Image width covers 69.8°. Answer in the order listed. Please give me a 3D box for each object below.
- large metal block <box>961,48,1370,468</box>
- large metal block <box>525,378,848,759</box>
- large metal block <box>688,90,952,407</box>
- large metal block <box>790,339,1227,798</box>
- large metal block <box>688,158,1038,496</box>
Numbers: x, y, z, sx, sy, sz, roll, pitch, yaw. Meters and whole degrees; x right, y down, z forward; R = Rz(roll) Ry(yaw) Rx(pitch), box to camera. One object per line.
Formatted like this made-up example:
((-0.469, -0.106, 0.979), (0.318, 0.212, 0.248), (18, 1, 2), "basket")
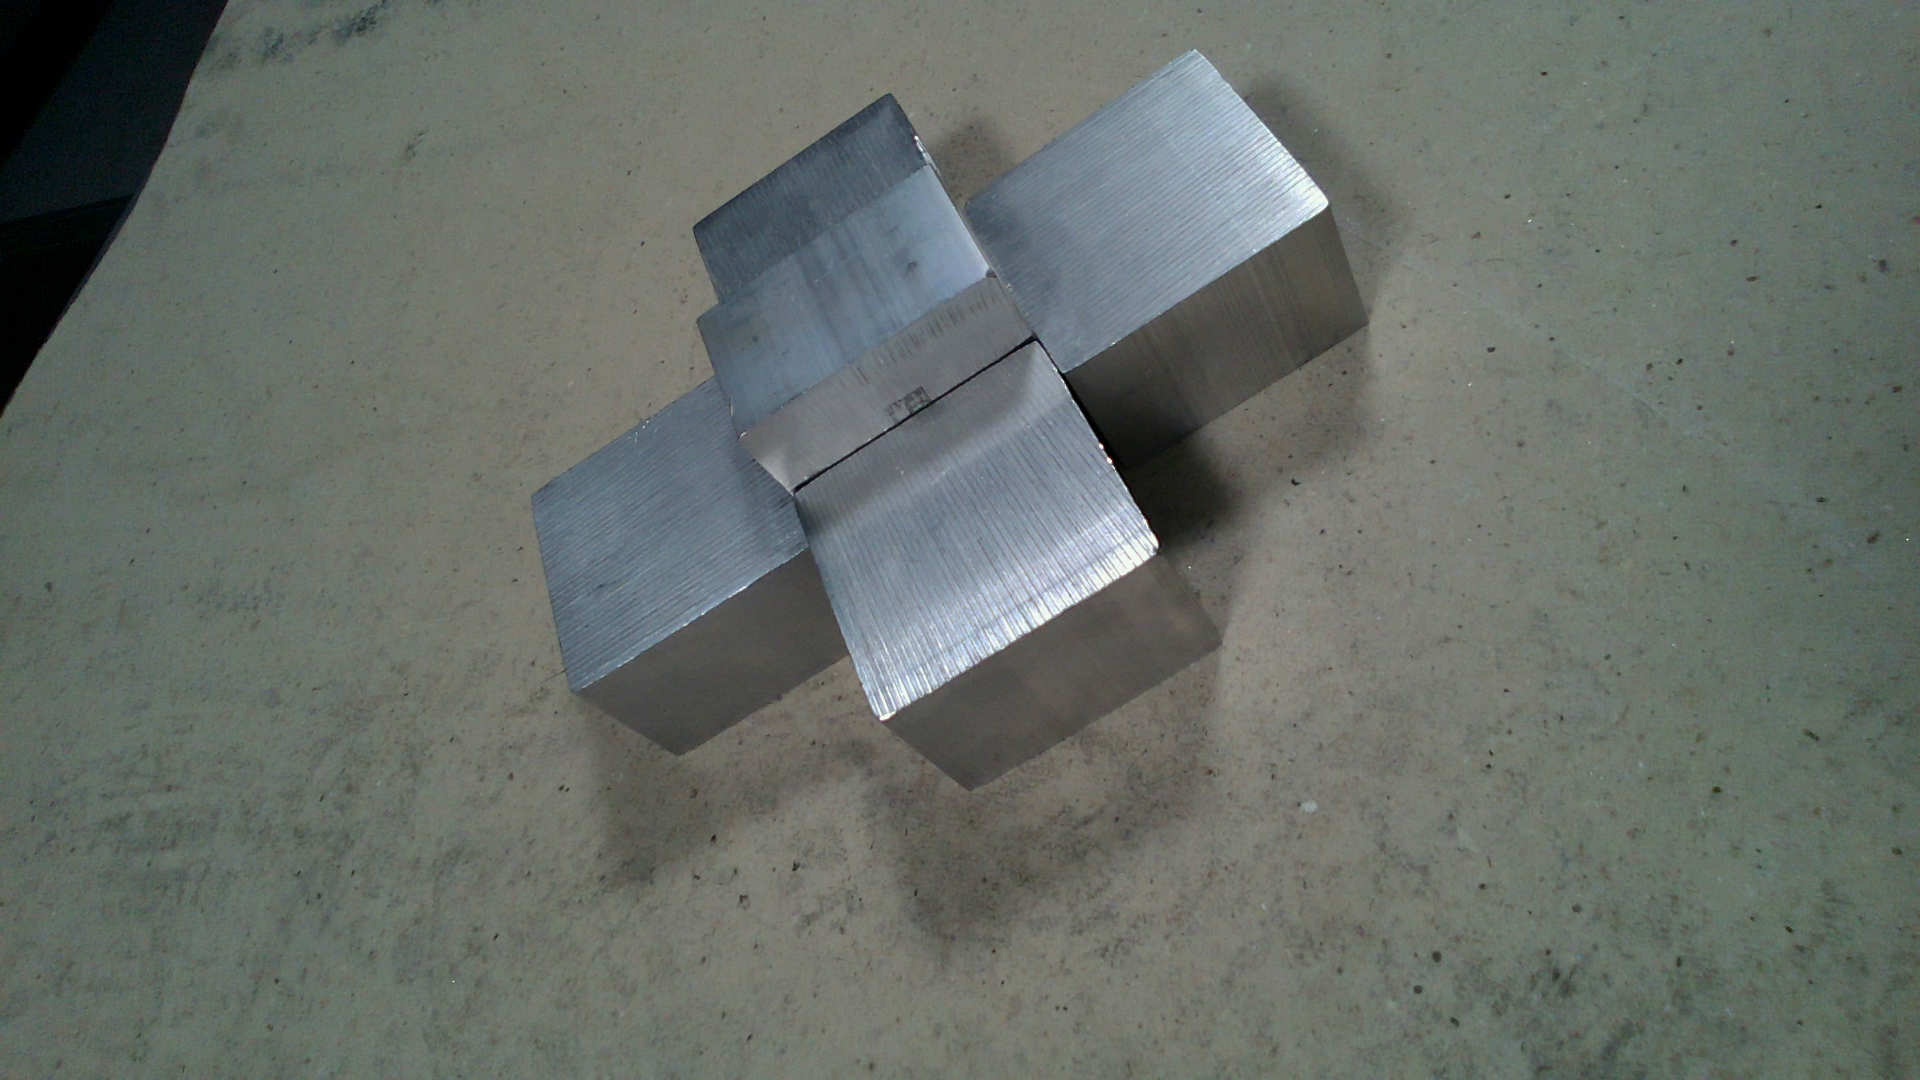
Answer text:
((0.057, -0.081, 0.396), (0.080, 0.050, 0.080), (-32, 51, 8), "large metal block")
((-0.077, 0.005, 0.415), (0.080, 0.050, 0.080), (-32, 51, 8), "large metal block")
((-0.033, -0.085, 0.447), (0.080, 0.050, 0.080), (-32, 51, 8), "large metal block")
((0.011, 0.008, 0.366), (0.080, 0.050, 0.080), (-32, 51, 8), "large metal block")
((-0.017, -0.047, 0.396), (0.080, 0.080, 0.050), (-32, 51, 8), "large metal block")
